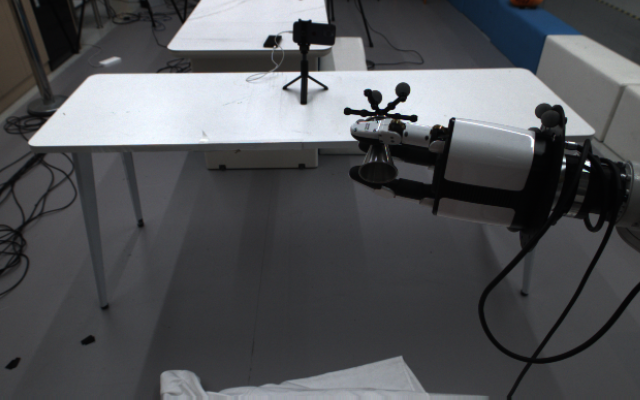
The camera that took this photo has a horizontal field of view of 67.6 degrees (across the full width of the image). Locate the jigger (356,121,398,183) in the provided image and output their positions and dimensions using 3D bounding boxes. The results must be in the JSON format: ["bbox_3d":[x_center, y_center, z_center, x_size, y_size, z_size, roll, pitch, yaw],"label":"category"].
[{"bbox_3d":[0.066,-0.060,0.562,0.043,0.043,0.071,5,60,4],"label":"jigger"}]
